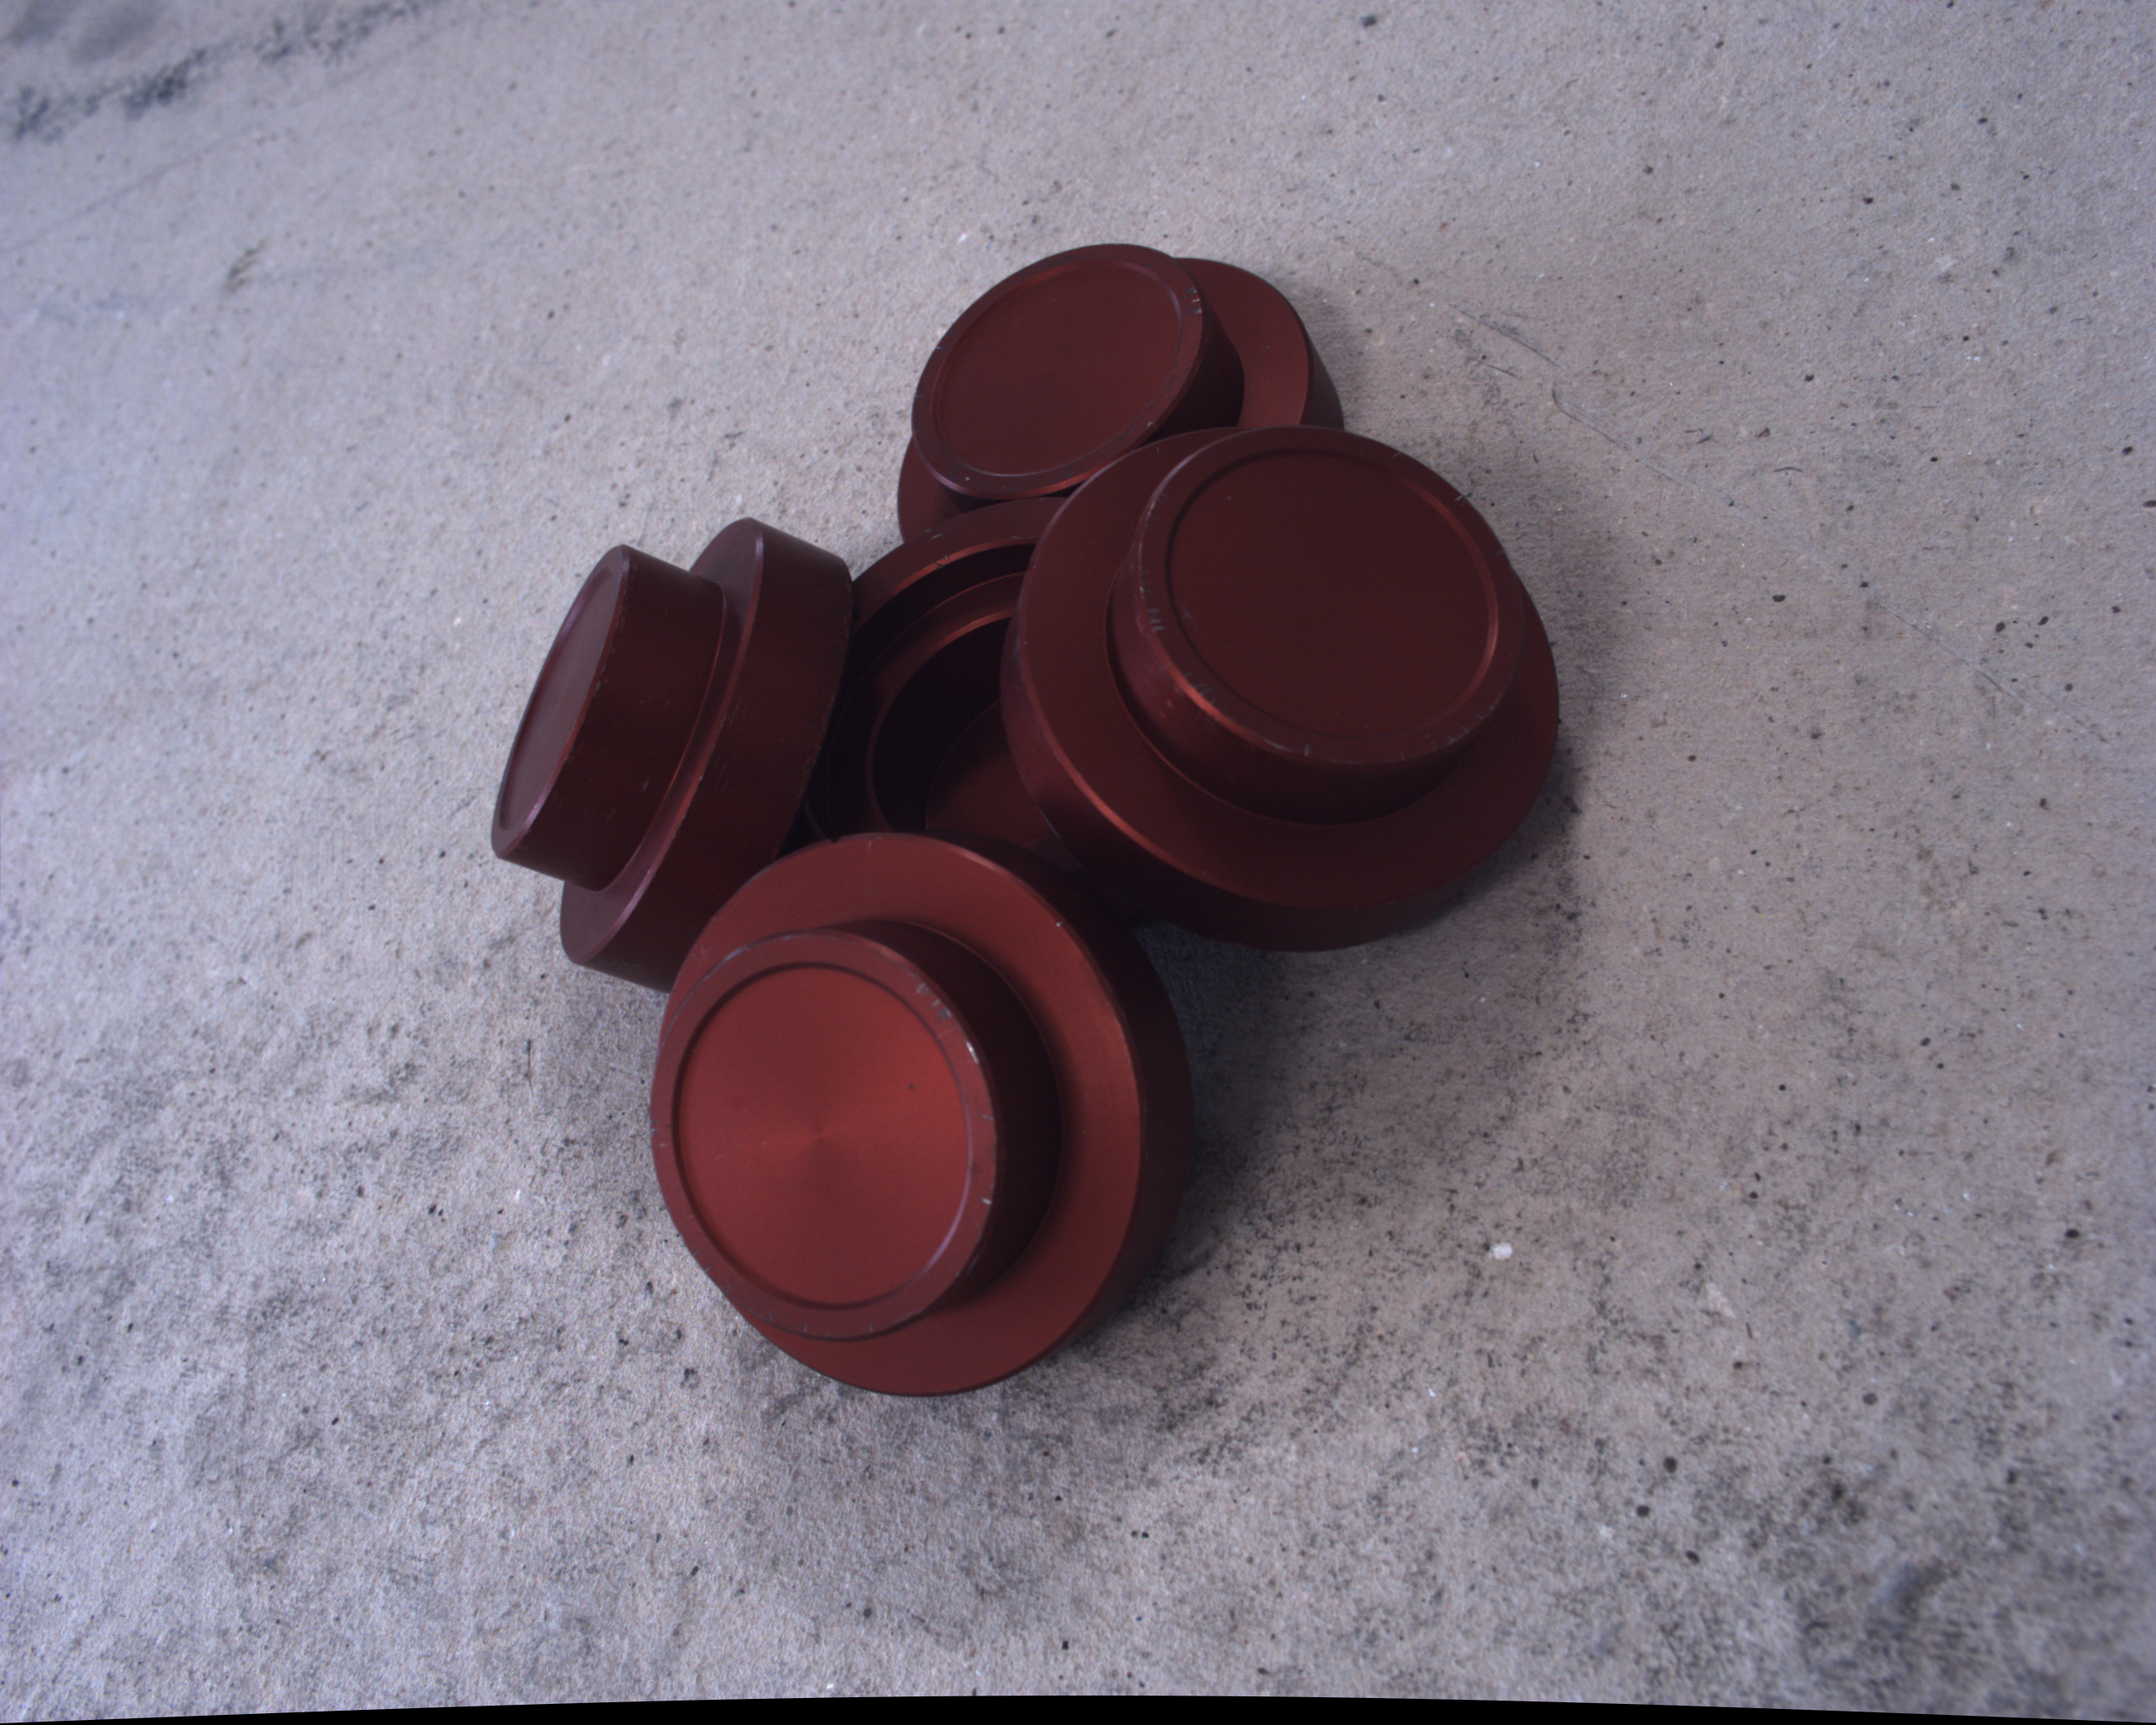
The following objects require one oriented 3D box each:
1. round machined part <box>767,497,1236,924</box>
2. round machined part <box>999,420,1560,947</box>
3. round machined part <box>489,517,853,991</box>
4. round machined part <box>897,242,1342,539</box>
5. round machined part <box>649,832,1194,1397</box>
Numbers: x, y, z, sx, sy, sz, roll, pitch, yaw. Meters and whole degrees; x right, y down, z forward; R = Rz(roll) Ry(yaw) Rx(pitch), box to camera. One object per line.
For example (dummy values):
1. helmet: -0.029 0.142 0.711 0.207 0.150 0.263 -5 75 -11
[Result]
1. round machined part: -0.011 -0.021 0.413 0.098 0.042 0.098 -15 54 22
2. round machined part: 0.038 -0.038 0.365 0.099 0.042 0.098 5 63 -10
3. round machined part: -0.087 -0.026 0.426 0.098 0.042 0.098 -44 34 41
4. round machined part: 0.004 -0.094 0.450 0.098 0.042 0.098 -14 54 20
5. round machined part: -0.033 0.044 0.358 0.098 0.042 0.097 1 92 26
